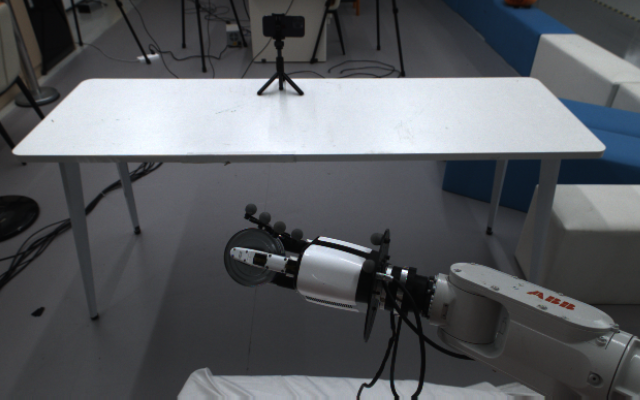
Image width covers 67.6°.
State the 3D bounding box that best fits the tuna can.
[{"bbox_3d":[-0.094,0.084,0.711,0.085,0.085,0.034,10,-4,11],"label":"tuna can"}]
